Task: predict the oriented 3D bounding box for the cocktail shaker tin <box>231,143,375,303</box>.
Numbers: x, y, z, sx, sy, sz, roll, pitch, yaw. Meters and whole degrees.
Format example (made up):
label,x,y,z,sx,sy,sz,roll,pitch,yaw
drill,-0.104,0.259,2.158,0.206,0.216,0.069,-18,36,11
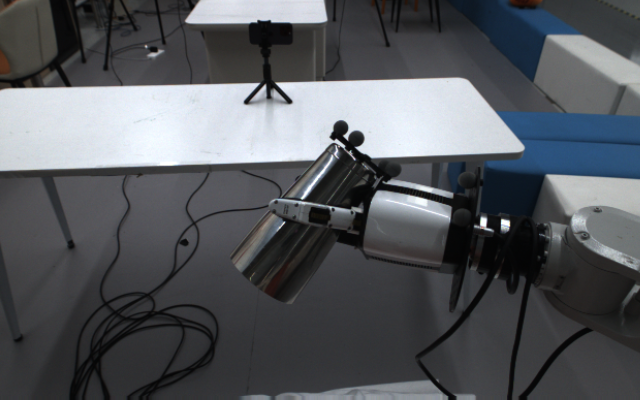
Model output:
label,x,y,z,sx,sy,sz,roll,pitch,yaw
cocktail shaker tin,-0.012,0.019,0.550,0.170,0.093,0.093,-50,46,4
